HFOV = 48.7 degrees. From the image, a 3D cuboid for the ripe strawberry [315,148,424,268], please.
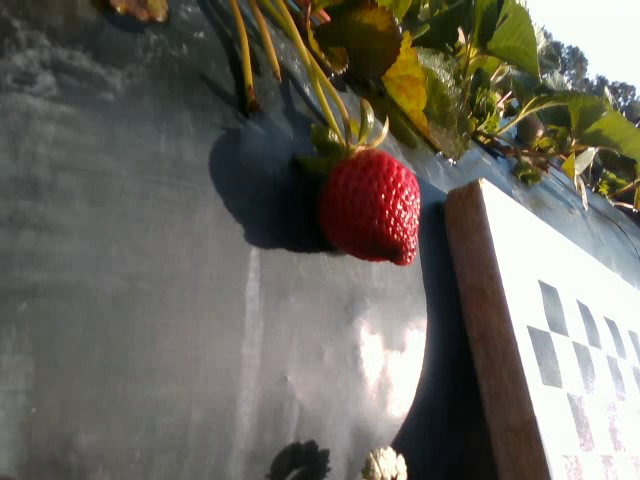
[{"bbox_3d":[0.020,-0.007,0.209,0.036,0.044,0.040,-36,-16,31],"label":"ripe strawberry"}]
